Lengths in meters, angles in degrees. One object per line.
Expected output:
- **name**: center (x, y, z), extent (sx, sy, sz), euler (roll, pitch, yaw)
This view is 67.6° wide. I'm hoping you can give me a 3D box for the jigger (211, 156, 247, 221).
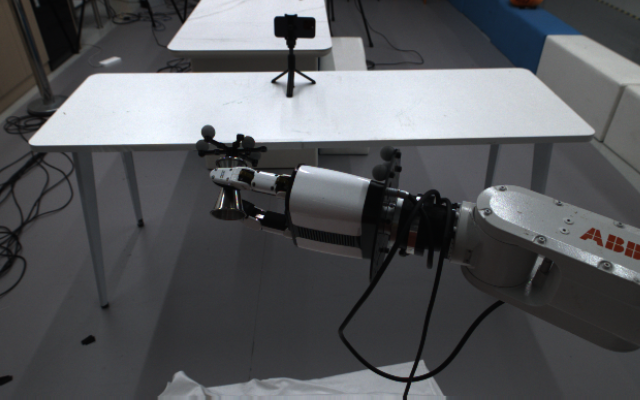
- **jigger**: center (-0.110, -0.015, 0.592), extent (0.043, 0.043, 0.071), euler (1, 70, -2)
